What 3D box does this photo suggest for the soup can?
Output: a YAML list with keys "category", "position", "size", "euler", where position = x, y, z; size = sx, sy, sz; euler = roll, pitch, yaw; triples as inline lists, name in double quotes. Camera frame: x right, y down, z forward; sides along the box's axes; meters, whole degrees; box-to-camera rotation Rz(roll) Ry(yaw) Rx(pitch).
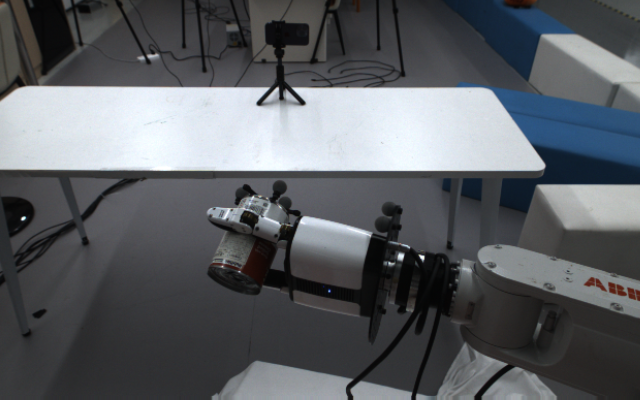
- category: "soup can"
  position: [-0.083, 0.052, 0.580]
  size: [0.067, 0.067, 0.101]
  euler: [12, 59, 14]
